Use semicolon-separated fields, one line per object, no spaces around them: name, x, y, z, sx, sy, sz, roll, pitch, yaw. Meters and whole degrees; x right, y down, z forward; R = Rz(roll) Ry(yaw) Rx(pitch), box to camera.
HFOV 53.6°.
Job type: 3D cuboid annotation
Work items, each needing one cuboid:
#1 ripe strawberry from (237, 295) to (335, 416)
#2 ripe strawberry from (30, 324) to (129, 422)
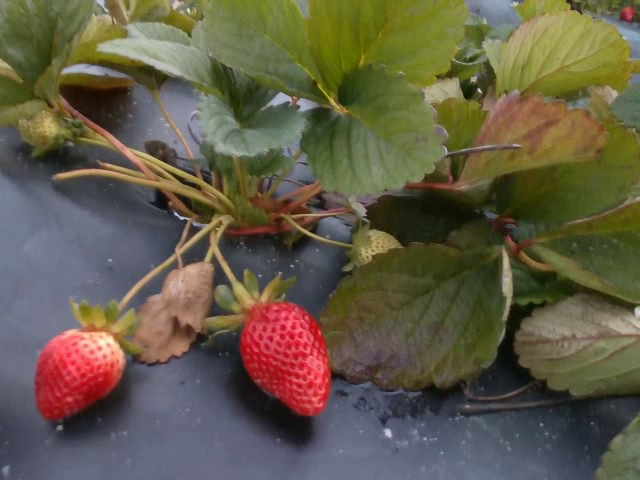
ripe strawberry;-0.013;0.046;0.247;0.044;0.059;0.042;-32;-28;4
ripe strawberry;-0.091;0.048;0.230;0.036;0.041;0.028;14;-27;9
